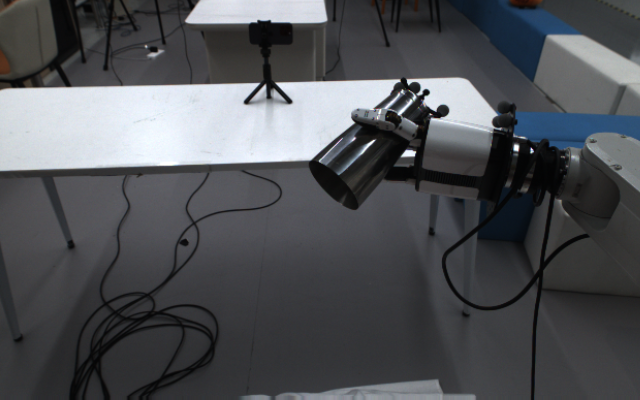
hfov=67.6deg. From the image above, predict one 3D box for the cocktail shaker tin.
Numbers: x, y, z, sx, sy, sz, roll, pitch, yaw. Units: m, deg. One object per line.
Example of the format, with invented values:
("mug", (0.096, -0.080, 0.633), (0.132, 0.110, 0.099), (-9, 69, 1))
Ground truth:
("cocktail shaker tin", (0.076, -0.082, 0.679), (0.170, 0.093, 0.093), (-44, 51, -14))
